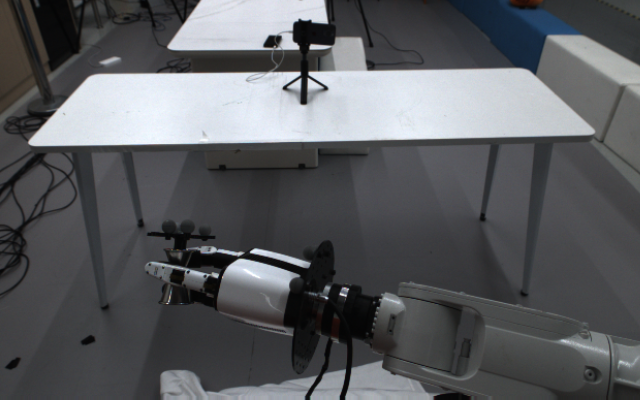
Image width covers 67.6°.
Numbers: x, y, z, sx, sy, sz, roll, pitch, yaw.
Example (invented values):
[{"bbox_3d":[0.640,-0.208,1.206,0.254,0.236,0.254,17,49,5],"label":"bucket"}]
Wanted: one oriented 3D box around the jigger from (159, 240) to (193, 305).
[{"bbox_3d":[-0.179,0.097,0.617,0.043,0.071,0.043,2,-6,0],"label":"jigger"}]
